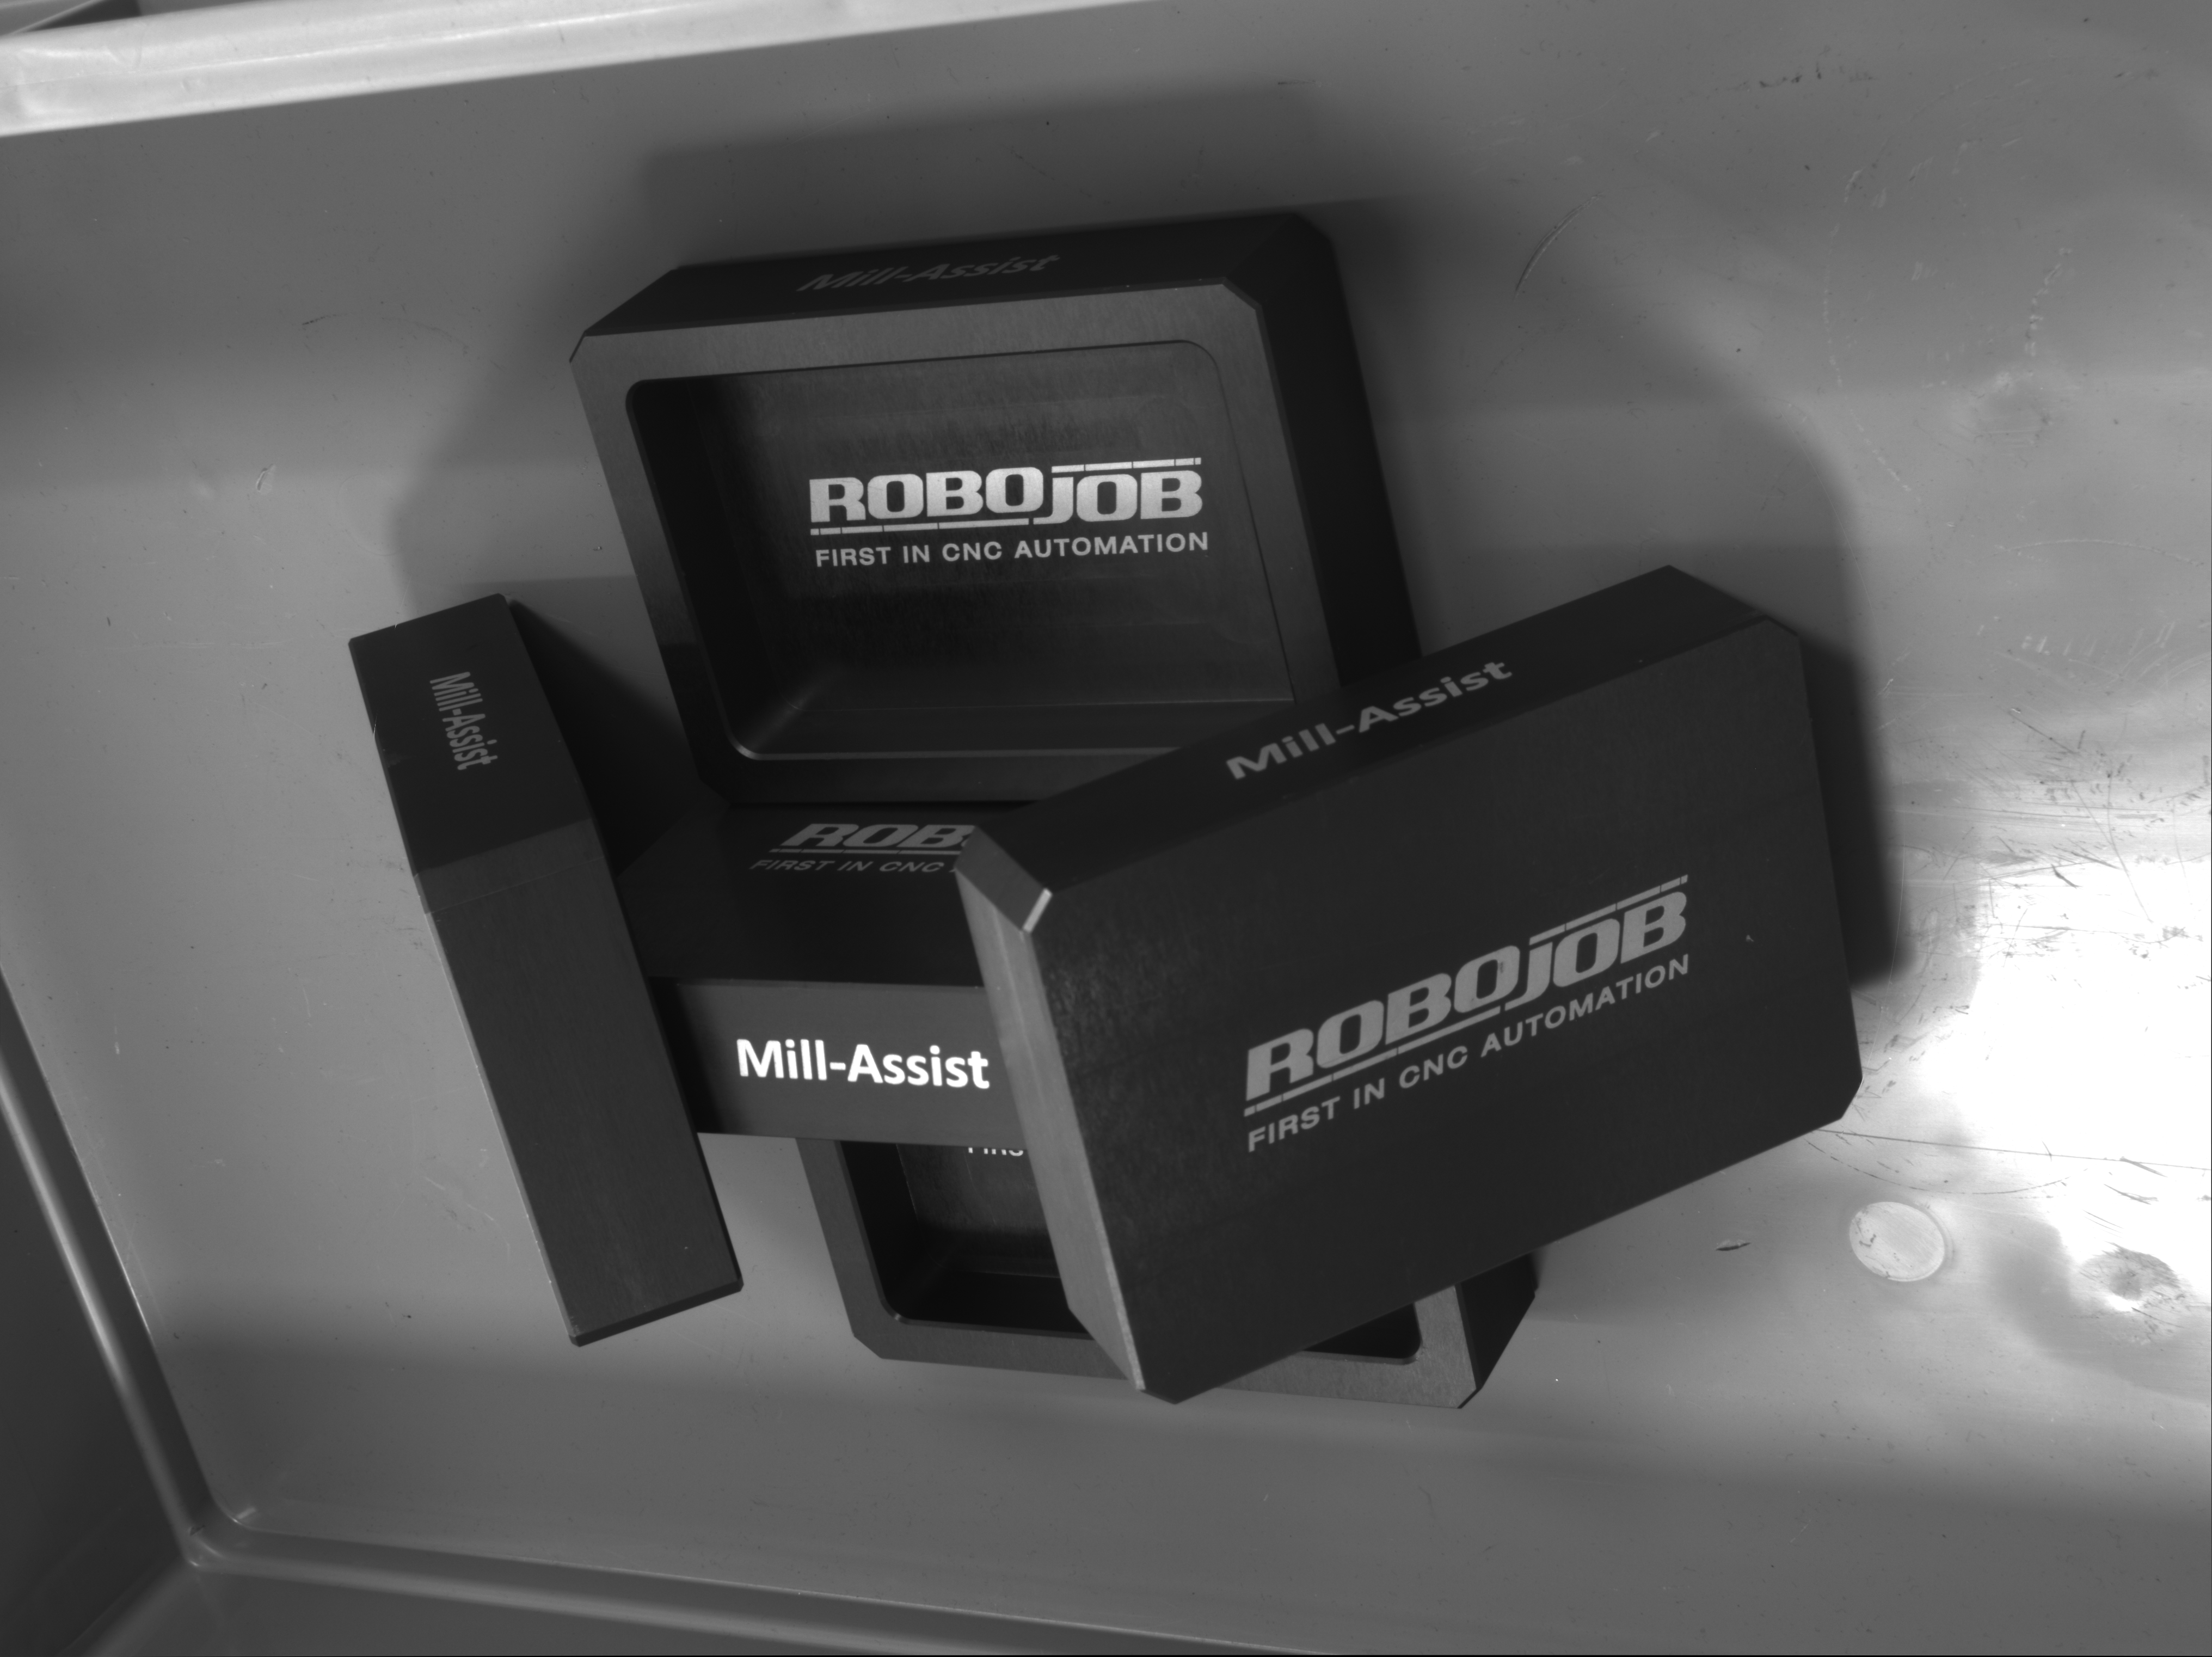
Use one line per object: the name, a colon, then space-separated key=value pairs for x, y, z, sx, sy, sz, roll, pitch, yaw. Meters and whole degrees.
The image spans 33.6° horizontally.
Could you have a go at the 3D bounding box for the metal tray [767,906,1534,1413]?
metal tray: x=0.006 y=0.057 z=0.667 sx=0.130 sy=0.030 sz=0.090 roll=0 pitch=118 yaw=27

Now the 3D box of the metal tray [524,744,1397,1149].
metal tray: x=-0.021 y=0.017 z=0.621 sx=0.130 sy=0.090 sz=0.030 roll=0 pitch=118 yaw=28

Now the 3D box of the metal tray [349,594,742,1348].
metal tray: x=-0.101 y=0.021 z=0.649 sx=0.030 sy=0.130 sz=0.090 roll=-18 pitch=115 yaw=-9

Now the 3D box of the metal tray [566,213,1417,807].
metal tray: x=-0.019 y=-0.051 z=0.616 sx=0.130 sy=0.030 sz=0.090 roll=-1 pitch=118 yaw=28

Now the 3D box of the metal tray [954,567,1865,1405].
metal tray: x=0.050 y=0.023 z=0.569 sx=0.030 sy=0.130 sz=0.090 roll=-139 pitch=32 yaw=-60
